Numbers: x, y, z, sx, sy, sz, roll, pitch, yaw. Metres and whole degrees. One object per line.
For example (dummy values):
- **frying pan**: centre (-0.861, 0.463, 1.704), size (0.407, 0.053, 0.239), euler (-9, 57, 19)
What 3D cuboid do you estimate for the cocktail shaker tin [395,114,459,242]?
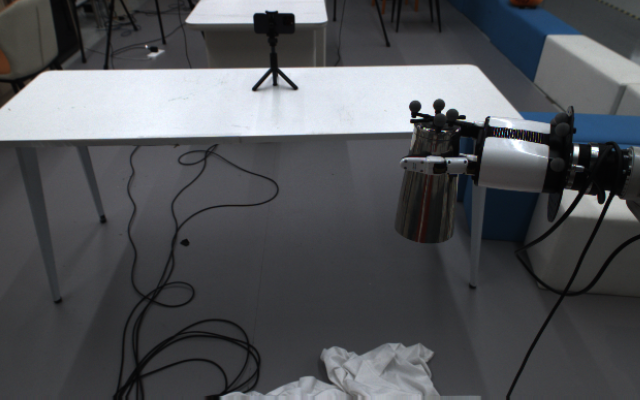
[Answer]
- **cocktail shaker tin**: centre (0.168, -0.035, 0.730), size (0.093, 0.170, 0.093), euler (1, 27, -1)
